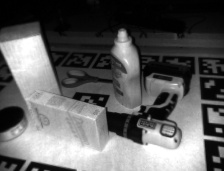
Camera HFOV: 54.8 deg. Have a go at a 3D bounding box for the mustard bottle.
[{"bbox_3d":[0.031,-0.052,0.523,0.059,0.193,0.095,-24,43,-16],"label":"mustard bottle"}]

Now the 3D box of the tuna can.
[{"bbox_3d":[-0.247,0.077,0.518,0.085,0.034,0.085,-4,41,4],"label":"tuna can"}]

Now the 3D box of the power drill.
[{"bbox_3d":[0.072,0.029,0.513,0.182,0.058,0.187,13,51,23],"label":"power drill"}]

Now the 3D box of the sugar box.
[{"bbox_3d":[-0.088,0.063,0.471,0.174,0.093,0.045,13,41,21],"label":"sugar box"}]

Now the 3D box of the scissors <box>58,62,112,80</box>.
[{"bbox_3d":[-0.080,-0.040,0.650,0.201,0.016,0.088,5,38,15],"label":"scissors"}]

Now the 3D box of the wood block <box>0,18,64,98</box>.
[{"bbox_3d":[-0.191,-0.046,0.540,0.091,0.208,0.089,-16,41,-8],"label":"wood block"}]
